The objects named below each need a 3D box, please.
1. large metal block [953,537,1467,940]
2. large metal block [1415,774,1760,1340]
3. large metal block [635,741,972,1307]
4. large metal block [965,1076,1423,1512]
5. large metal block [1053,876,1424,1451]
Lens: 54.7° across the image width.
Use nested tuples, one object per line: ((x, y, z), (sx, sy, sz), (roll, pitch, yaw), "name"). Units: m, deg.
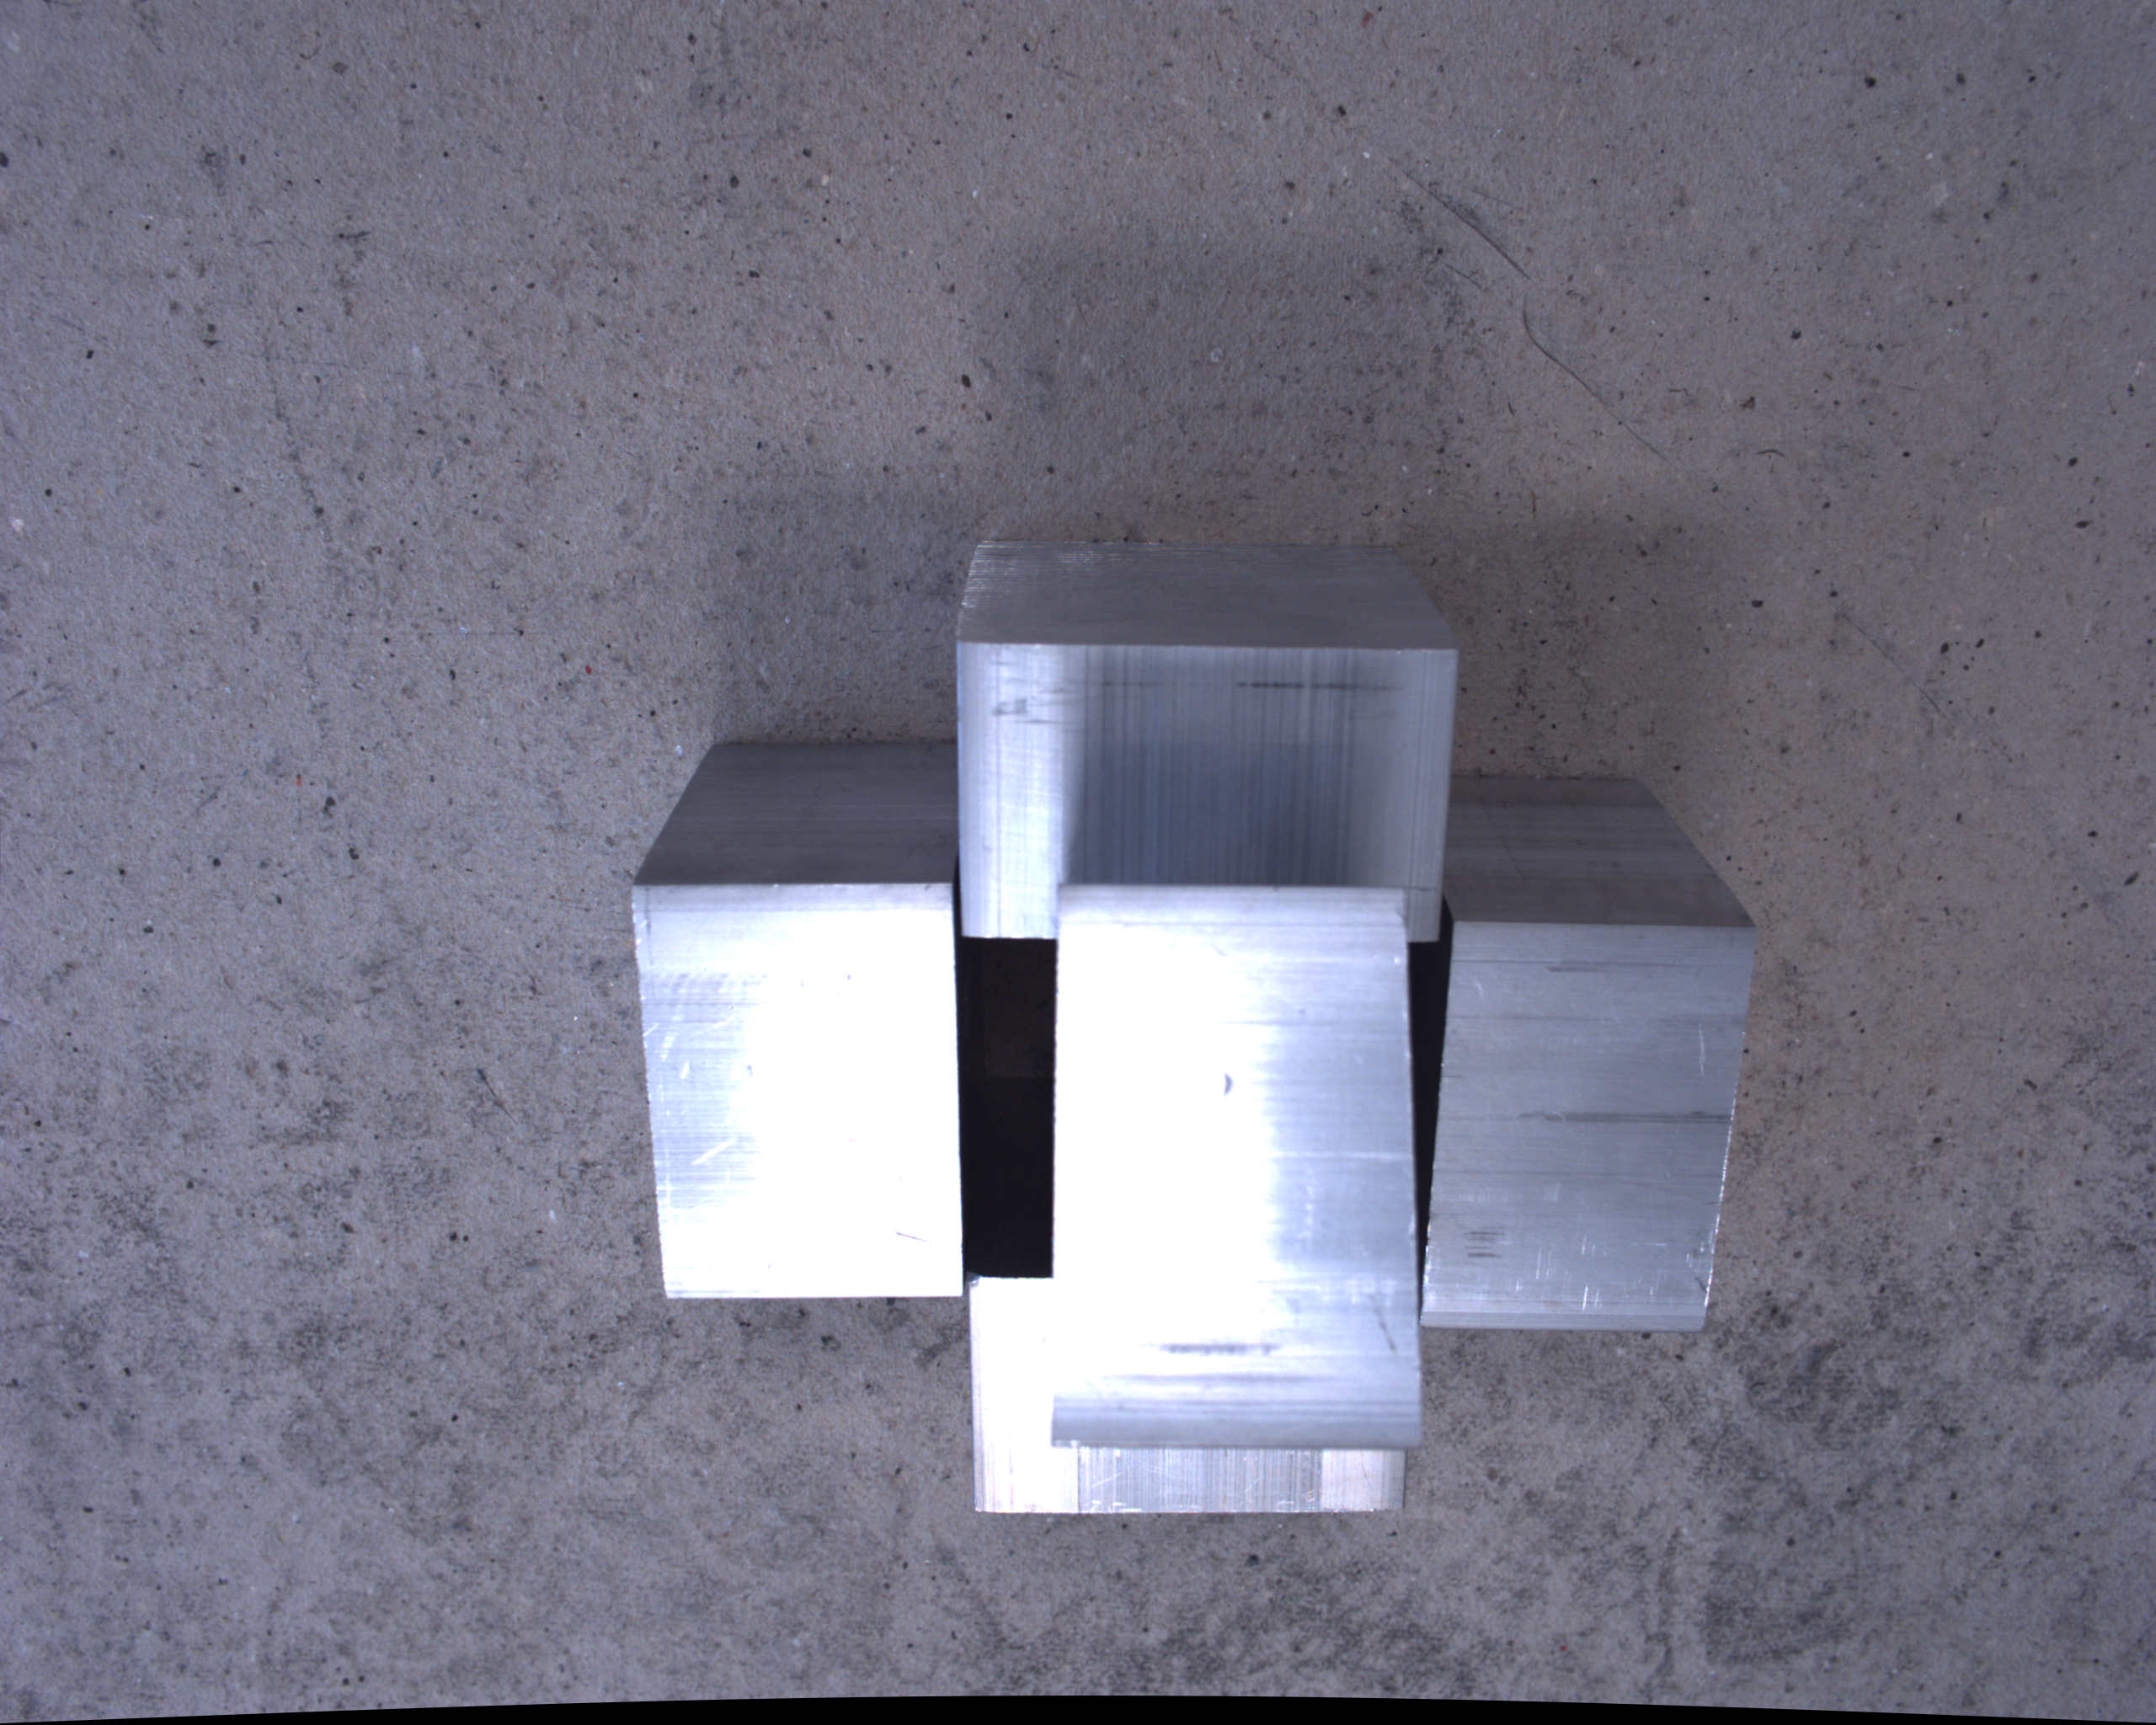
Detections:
((0.020, -0.025, 0.373), (0.081, 0.080, 0.050), (1, 111, -1), "large metal block")
((0.086, 0.033, 0.395), (0.050, 0.080, 0.079), (1, 110, -1), "large metal block")
((-0.047, 0.027, 0.390), (0.050, 0.080, 0.079), (0, 110, 0), "large metal block")
((0.021, 0.082, 0.412), (0.081, 0.080, 0.050), (0, 110, 0), "large metal block")
((0.022, 0.050, 0.331), (0.050, 0.080, 0.080), (1, 76, 0), "large metal block")
